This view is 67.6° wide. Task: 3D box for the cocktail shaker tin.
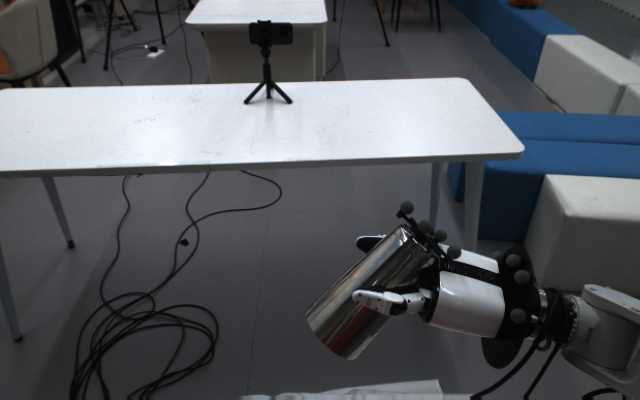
[{"bbox_3d":[0.070,0.108,0.628,0.093,0.170,0.093,41,12,-11],"label":"cocktail shaker tin"}]
